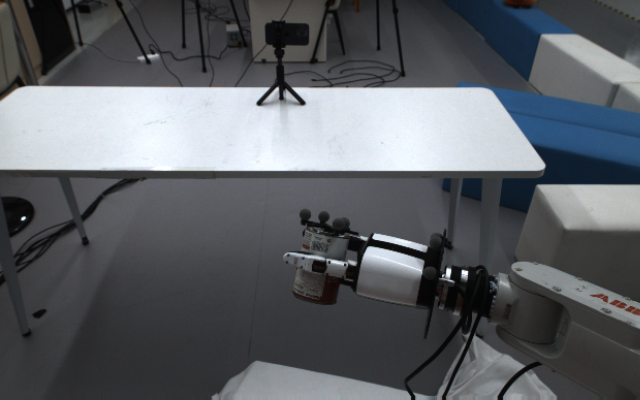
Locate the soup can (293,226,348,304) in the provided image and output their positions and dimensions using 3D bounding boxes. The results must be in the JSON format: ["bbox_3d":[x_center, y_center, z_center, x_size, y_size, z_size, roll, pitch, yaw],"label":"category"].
[{"bbox_3d":[0.003,0.095,0.707,0.067,0.101,0.067,12,2,0],"label":"soup can"}]
